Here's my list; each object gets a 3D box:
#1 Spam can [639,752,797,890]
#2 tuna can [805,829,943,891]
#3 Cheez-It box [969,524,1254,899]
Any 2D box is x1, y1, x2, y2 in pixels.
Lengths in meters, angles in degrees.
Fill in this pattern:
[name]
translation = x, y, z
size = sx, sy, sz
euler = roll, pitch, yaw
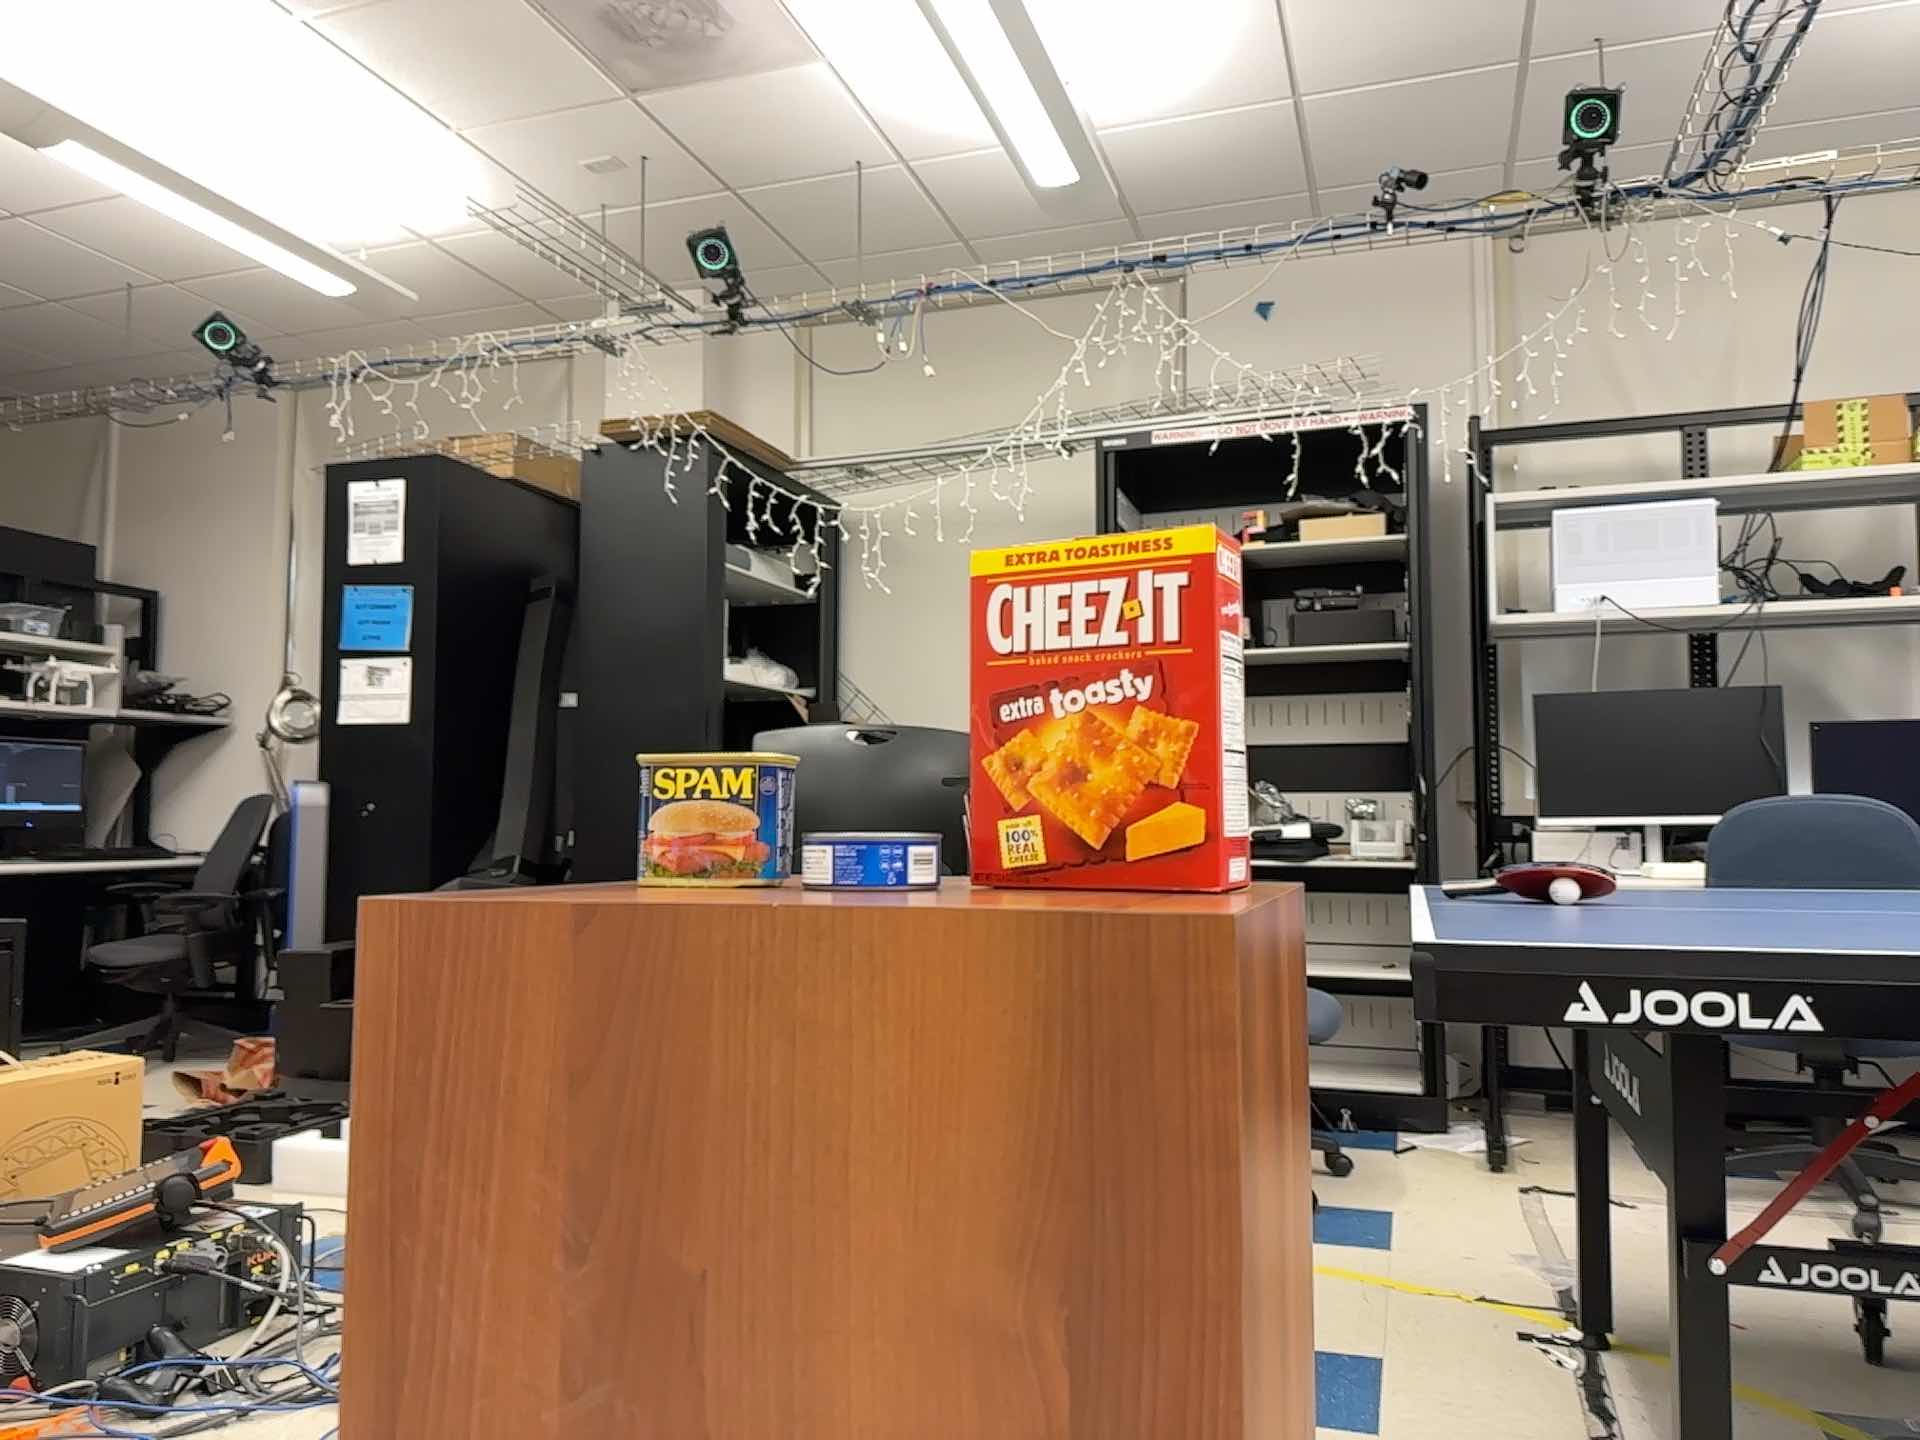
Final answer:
[Spam can]
translation = -0.157, 0.066, 0.869
size = 0.100, 0.083, 0.056
euler = -3, -7, 27
[tuna can]
translation = -0.053, 0.086, 0.825
size = 0.083, 0.034, 0.083
euler = 0, -9, 0
[Cheez-It box]
translation = 0.092, 0.000, 0.848
size = 0.159, 0.214, 0.062
euler = -3, -7, 24
